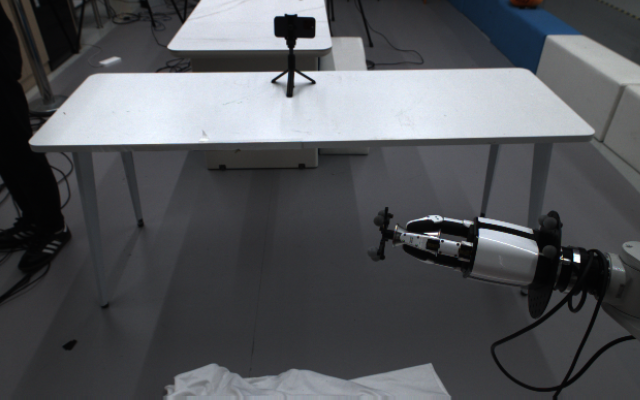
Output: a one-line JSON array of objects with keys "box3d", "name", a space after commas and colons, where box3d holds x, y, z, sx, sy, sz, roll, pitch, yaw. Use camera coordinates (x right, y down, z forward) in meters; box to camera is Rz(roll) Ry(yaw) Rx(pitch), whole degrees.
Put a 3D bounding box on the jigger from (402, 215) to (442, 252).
[{"box3d": [0.156, 0.056, 0.750, 0.071, 0.043, 0.043, 8, 35, 16], "name": "jigger"}]
